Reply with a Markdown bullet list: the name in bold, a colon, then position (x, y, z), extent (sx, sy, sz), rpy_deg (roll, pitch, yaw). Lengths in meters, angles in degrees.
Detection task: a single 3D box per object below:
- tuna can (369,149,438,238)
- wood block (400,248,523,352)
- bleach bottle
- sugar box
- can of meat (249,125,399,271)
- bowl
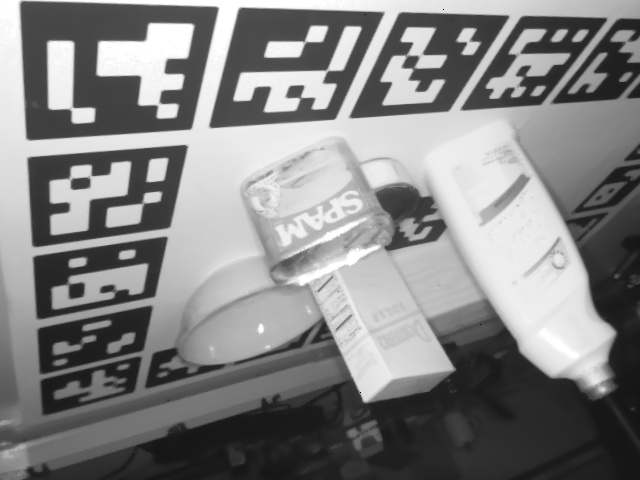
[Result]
- **tuna can**: position (0.062, -0.042, 0.633), extent (0.086, 0.034, 0.085), rpy_deg (-20, 145, -13)
- **wood block**: position (0.149, 0.078, 0.830), extent (0.209, 0.090, 0.090), rpy_deg (-11, 142, -21)
- **bleach bottle**: position (0.195, 0.015, 0.611), extent (0.103, 0.251, 0.067), rpy_deg (-21, 150, -7)
- **sugar box**: position (0.048, 0.053, 0.628), extent (0.094, 0.176, 0.044), rpy_deg (8, 134, -47)
- **can of meat**: position (0.001, -0.035, 0.564), extent (0.102, 0.084, 0.057), rpy_deg (-22, 152, -3)
- **bowl**: position (-0.070, 0.064, 0.679), extent (0.163, 0.055, 0.160), rpy_deg (-22, 150, -12)
